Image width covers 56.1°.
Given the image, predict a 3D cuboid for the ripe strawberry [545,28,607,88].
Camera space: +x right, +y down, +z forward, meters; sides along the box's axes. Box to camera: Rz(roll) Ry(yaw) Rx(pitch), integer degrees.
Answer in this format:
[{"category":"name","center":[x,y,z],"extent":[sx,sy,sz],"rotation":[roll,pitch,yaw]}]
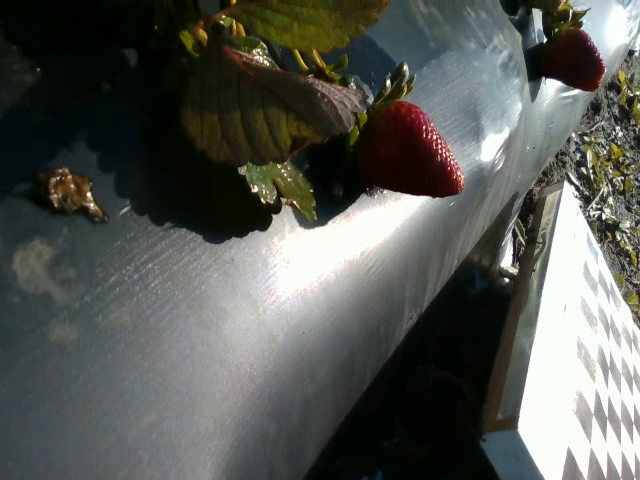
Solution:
[{"category":"ripe strawberry","center":[0.187,-0.130,0.444],"extent":[0.042,0.059,0.042],"rotation":[-34,-12,28]}]

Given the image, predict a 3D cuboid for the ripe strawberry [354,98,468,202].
[{"category":"ripe strawberry","center":[0.039,-0.035,0.245],"extent":[0.055,0.042,0.045],"rotation":[37,29,9]}]
